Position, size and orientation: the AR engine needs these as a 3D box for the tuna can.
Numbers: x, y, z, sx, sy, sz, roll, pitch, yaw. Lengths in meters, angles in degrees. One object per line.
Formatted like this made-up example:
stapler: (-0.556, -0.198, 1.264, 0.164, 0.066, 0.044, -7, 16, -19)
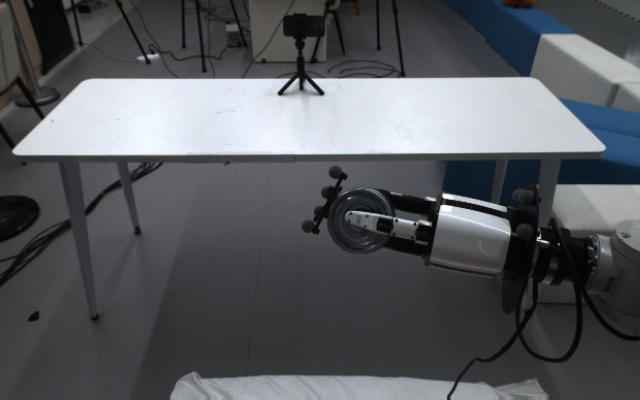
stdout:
tuna can: (0.055, 0.024, 0.621, 0.085, 0.085, 0.034, 10, 4, 11)
